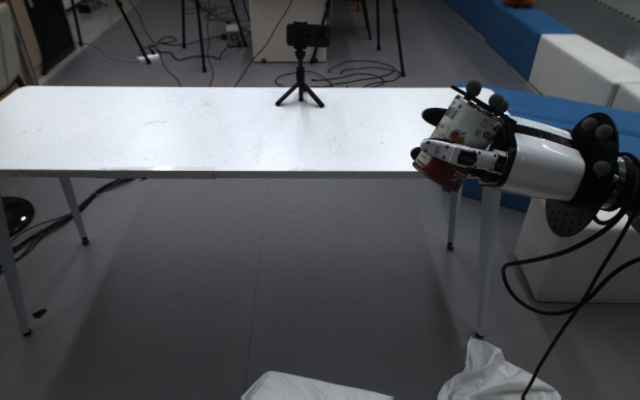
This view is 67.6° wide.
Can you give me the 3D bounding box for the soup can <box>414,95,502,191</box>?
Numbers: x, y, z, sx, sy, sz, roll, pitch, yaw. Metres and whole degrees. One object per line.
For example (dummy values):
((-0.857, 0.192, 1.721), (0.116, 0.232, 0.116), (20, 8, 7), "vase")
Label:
((0.172, -0.071, 0.604), (0.067, 0.101, 0.067), (27, 18, -9), "soup can")
